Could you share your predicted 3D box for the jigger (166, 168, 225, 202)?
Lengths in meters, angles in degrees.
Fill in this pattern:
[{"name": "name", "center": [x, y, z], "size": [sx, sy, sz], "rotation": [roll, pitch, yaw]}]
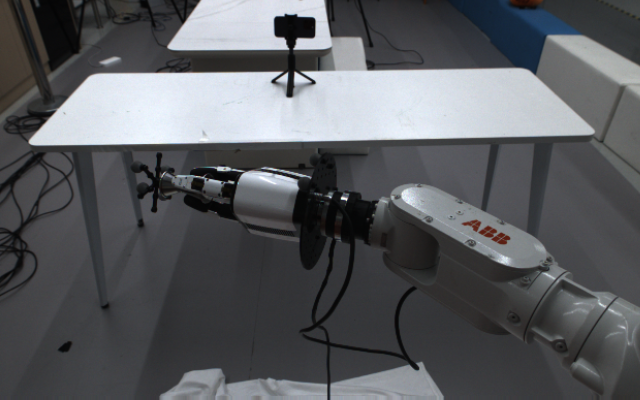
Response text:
[{"name": "jigger", "center": [-0.185, -0.025, 0.705], "size": [0.071, 0.043, 0.043], "rotation": [6, 34, 15]}]
